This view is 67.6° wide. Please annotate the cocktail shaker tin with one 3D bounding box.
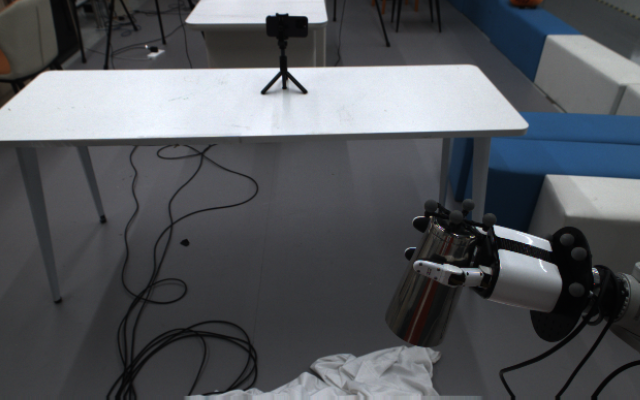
[{"bbox_3d":[0.163,0.104,0.677,0.093,0.170,0.093,12,25,-6],"label":"cocktail shaker tin"}]
